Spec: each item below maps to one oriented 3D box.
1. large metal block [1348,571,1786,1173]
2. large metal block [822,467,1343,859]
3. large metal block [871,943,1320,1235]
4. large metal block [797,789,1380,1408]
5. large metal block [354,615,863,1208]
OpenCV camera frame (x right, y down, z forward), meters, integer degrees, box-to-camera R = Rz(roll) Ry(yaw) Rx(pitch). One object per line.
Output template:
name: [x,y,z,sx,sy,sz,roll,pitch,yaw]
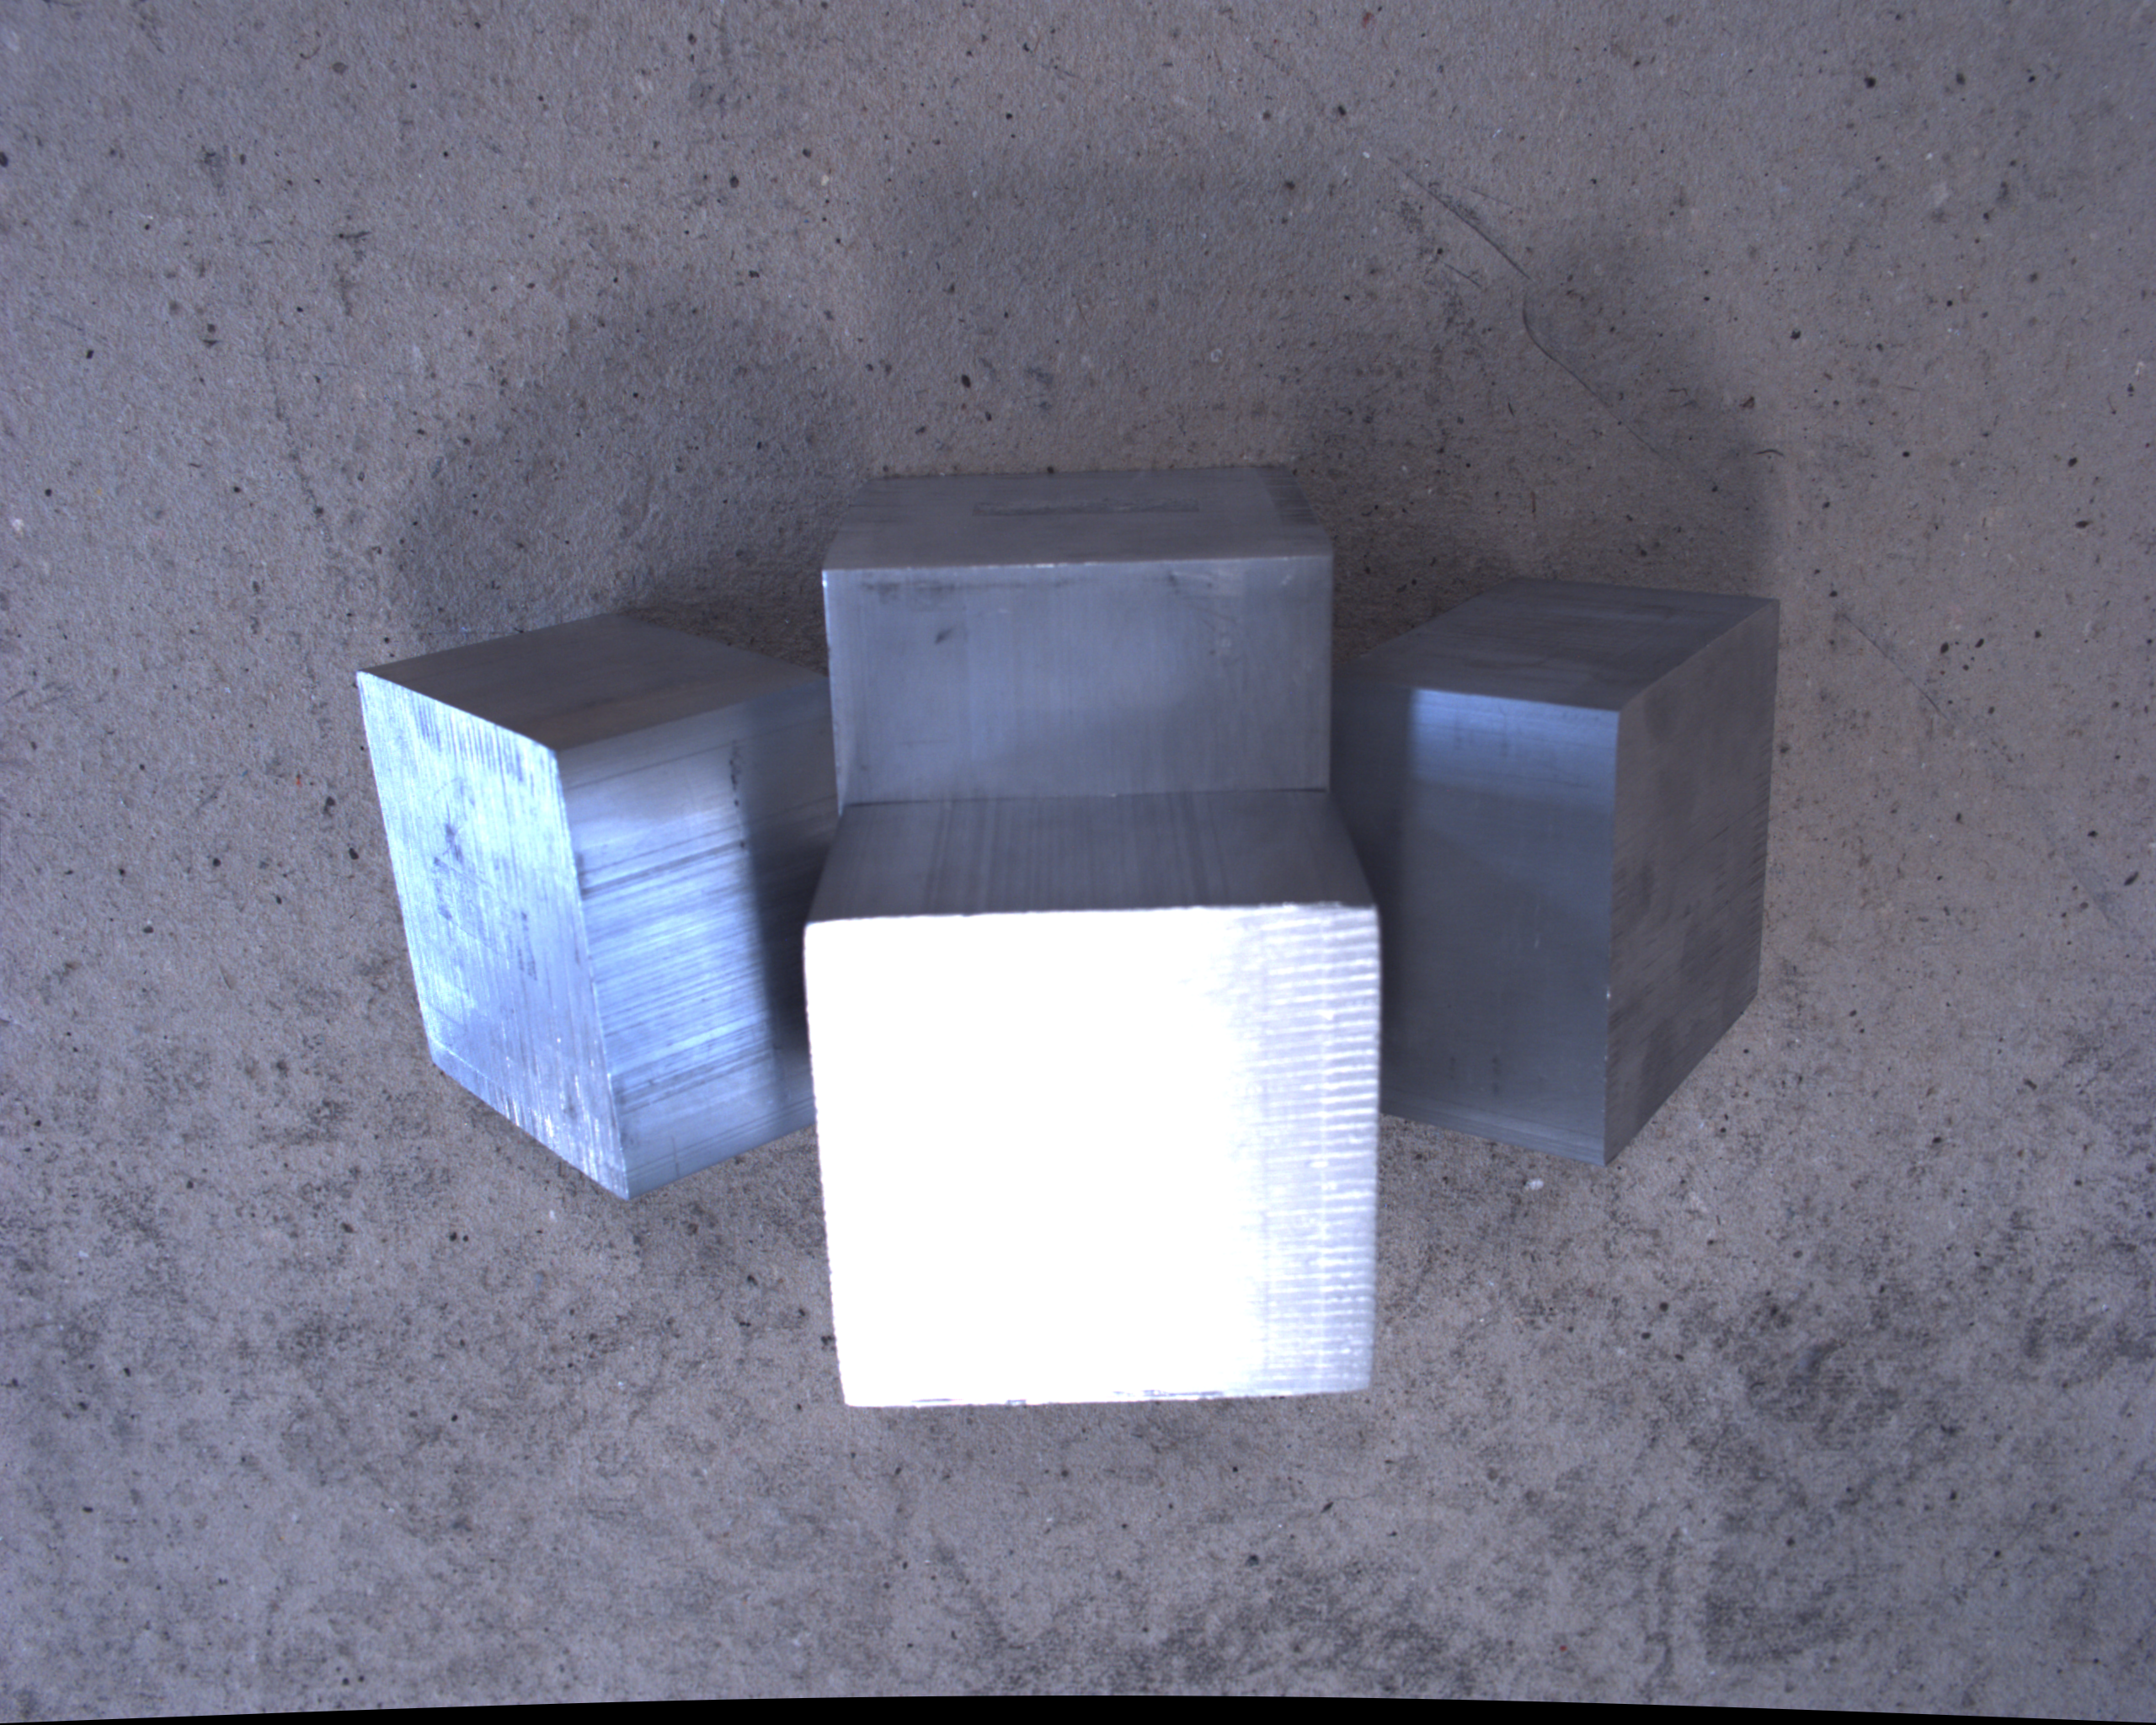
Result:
large metal block: [0.087,-0.003,0.373,0.050,0.081,0.079,10,114,33]
large metal block: [0.001,-0.037,0.368,0.080,0.080,0.050,-2,110,0]
large metal block: [0.005,0.048,0.401,0.080,0.080,0.050,-3,110,1]
large metal block: [0.003,0.035,0.325,0.080,0.050,0.079,-2,110,0]
large metal block: [-0.083,0.004,0.375,0.050,0.080,0.079,-19,115,-36]
